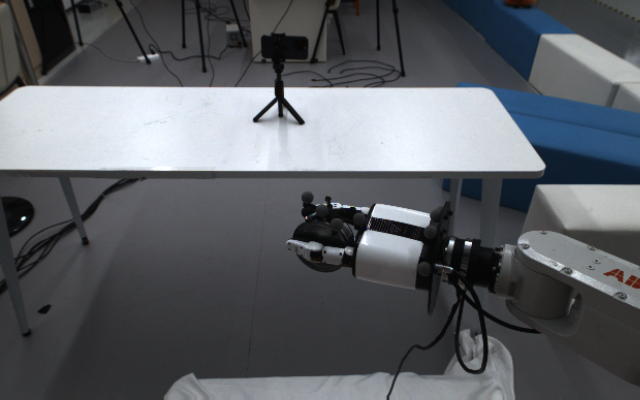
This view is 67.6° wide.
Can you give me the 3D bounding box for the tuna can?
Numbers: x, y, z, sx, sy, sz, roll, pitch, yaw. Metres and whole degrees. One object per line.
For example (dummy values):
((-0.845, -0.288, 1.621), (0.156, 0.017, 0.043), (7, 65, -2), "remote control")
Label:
((0.008, 0.059, 0.701), (0.085, 0.085, 0.034), (16, 29, 19), "tuna can")
